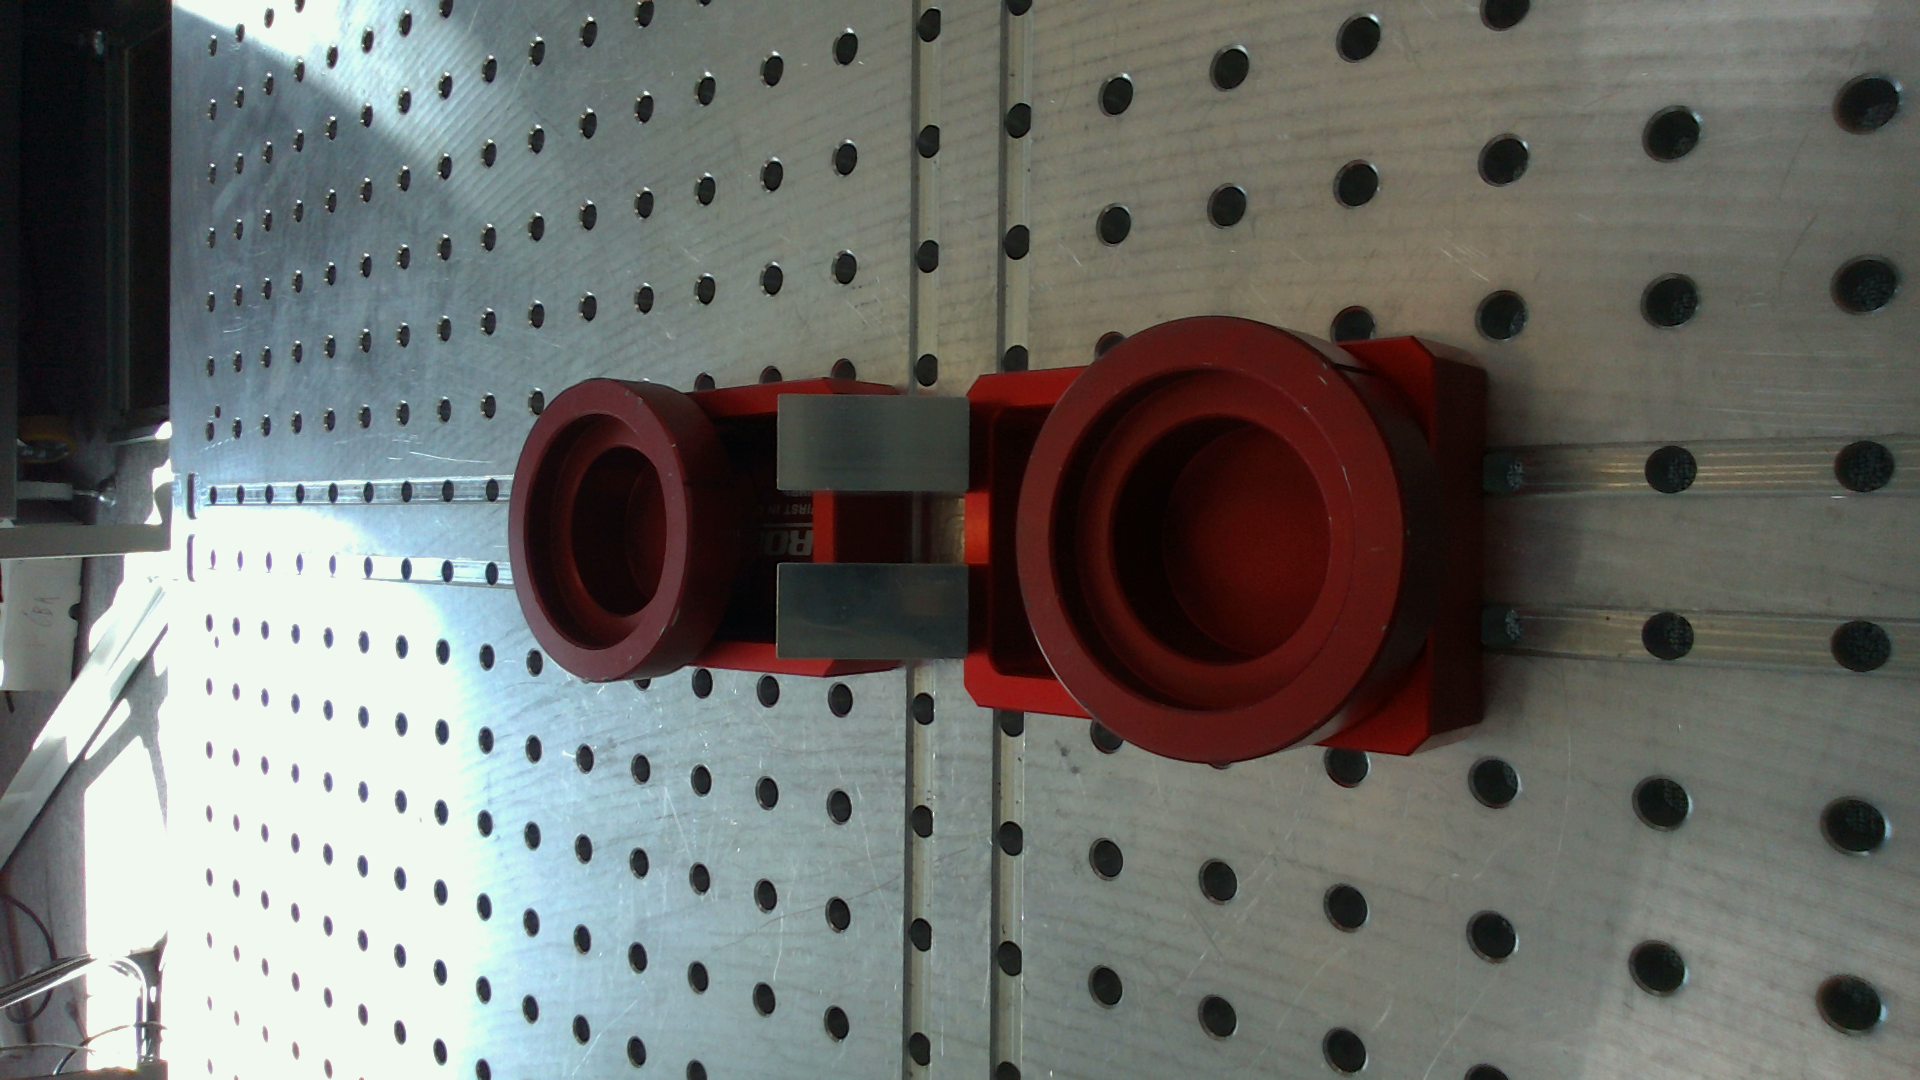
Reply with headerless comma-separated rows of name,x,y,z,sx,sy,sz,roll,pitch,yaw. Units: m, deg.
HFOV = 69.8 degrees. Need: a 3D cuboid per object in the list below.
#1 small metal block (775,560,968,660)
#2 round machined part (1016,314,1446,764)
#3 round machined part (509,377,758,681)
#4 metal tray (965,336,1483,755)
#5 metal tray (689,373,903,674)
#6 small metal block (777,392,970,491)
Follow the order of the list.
small metal block,-0.025,0.019,0.383,0.050,0.050,0.025,-174,85,-85
round machined part,0.064,0.000,0.317,0.098,0.042,0.098,0,90,40
round machined part,-0.105,-0.004,0.459,0.098,0.042,0.098,0,90,40
metal tray,0.060,0.000,0.345,0.129,0.030,0.090,1,91,40
metal tray,-0.077,-0.005,0.460,0.129,0.030,0.090,-1,92,40
small metal block,-0.025,-0.026,0.384,0.050,0.050,0.025,-174,85,-85
